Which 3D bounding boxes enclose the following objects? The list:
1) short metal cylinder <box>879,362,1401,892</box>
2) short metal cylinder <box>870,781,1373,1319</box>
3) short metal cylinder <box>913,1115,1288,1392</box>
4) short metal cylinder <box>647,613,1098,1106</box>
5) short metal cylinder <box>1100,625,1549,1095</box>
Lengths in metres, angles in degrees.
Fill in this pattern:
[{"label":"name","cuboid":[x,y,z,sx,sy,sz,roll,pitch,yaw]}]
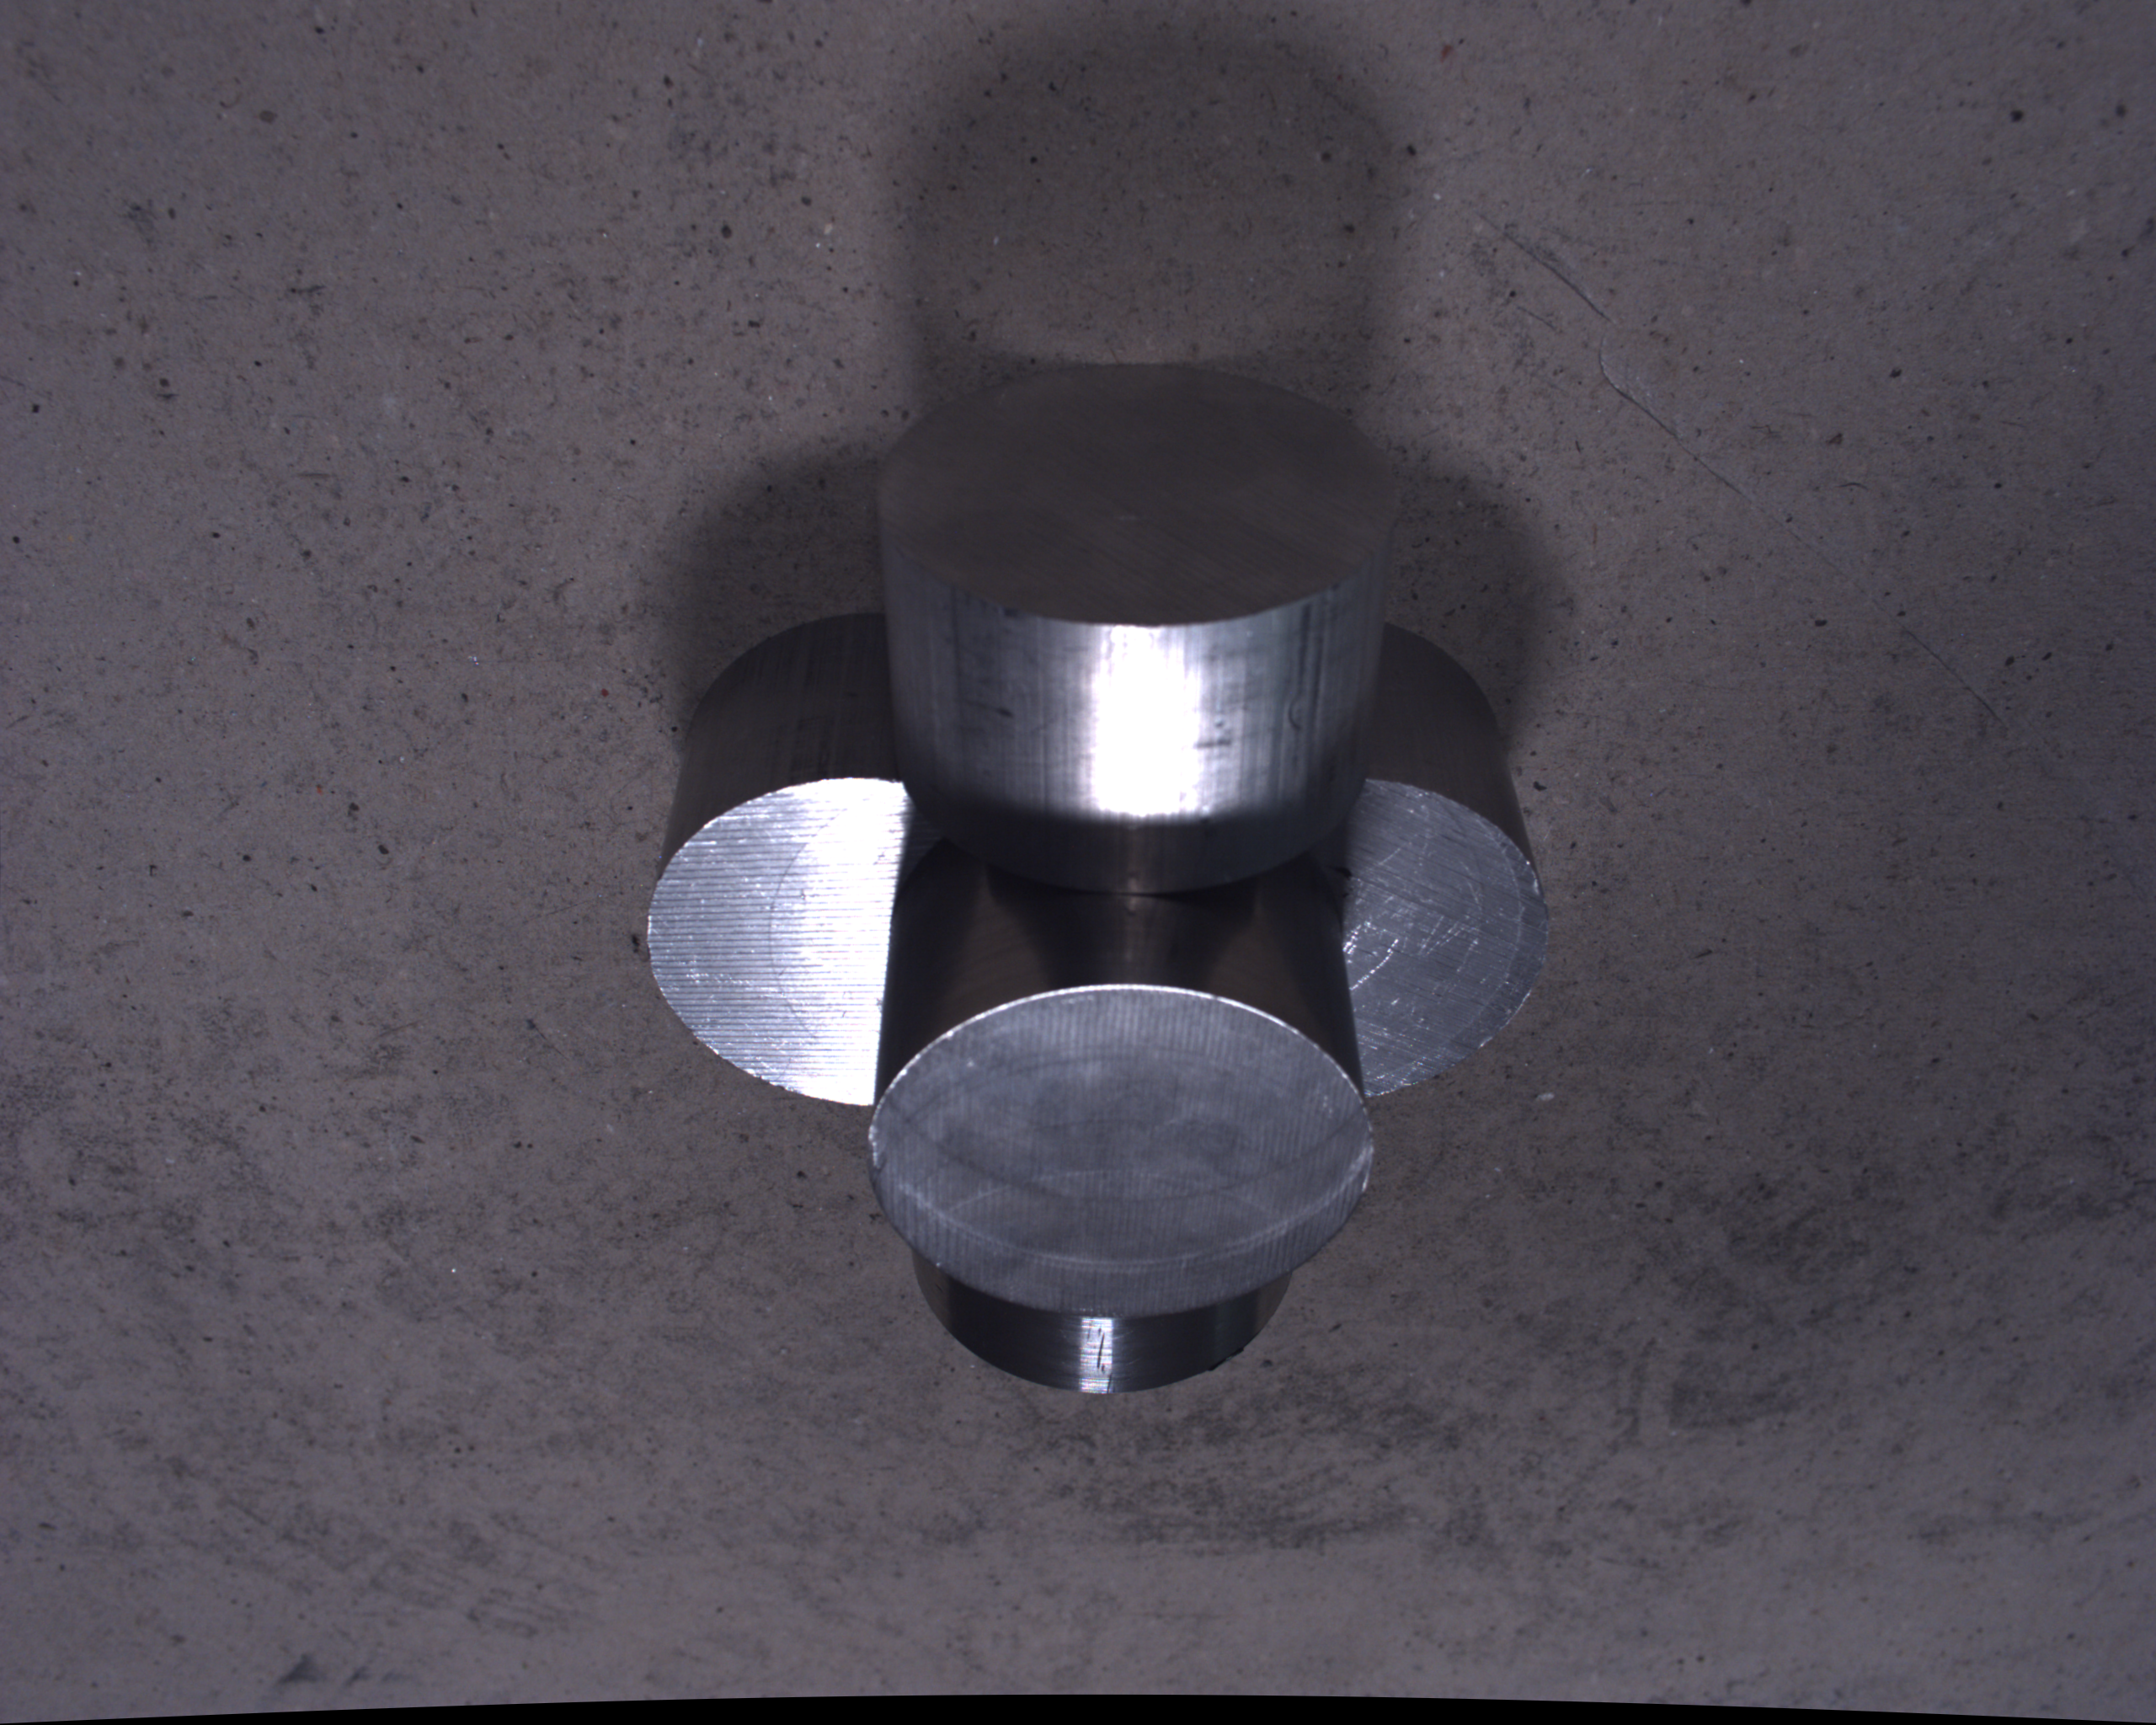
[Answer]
[{"label":"short metal cylinder","cuboid":[0.010,-0.040,0.339,0.081,0.080,0.050,0,130,-1]},{"label":"short metal cylinder","cuboid":[0.007,0.033,0.354,0.081,0.050,0.079,0,130,0]},{"label":"short metal cylinder","cuboid":[0.005,0.059,0.424,0.081,0.080,0.050,0,130,-1]},{"label":"short metal cylinder","cuboid":[-0.036,0.000,0.392,0.081,0.050,0.079,0,130,0]},{"label":"short metal cylinder","cuboid":[0.044,0.000,0.393,0.081,0.050,0.079,0,130,0]}]
